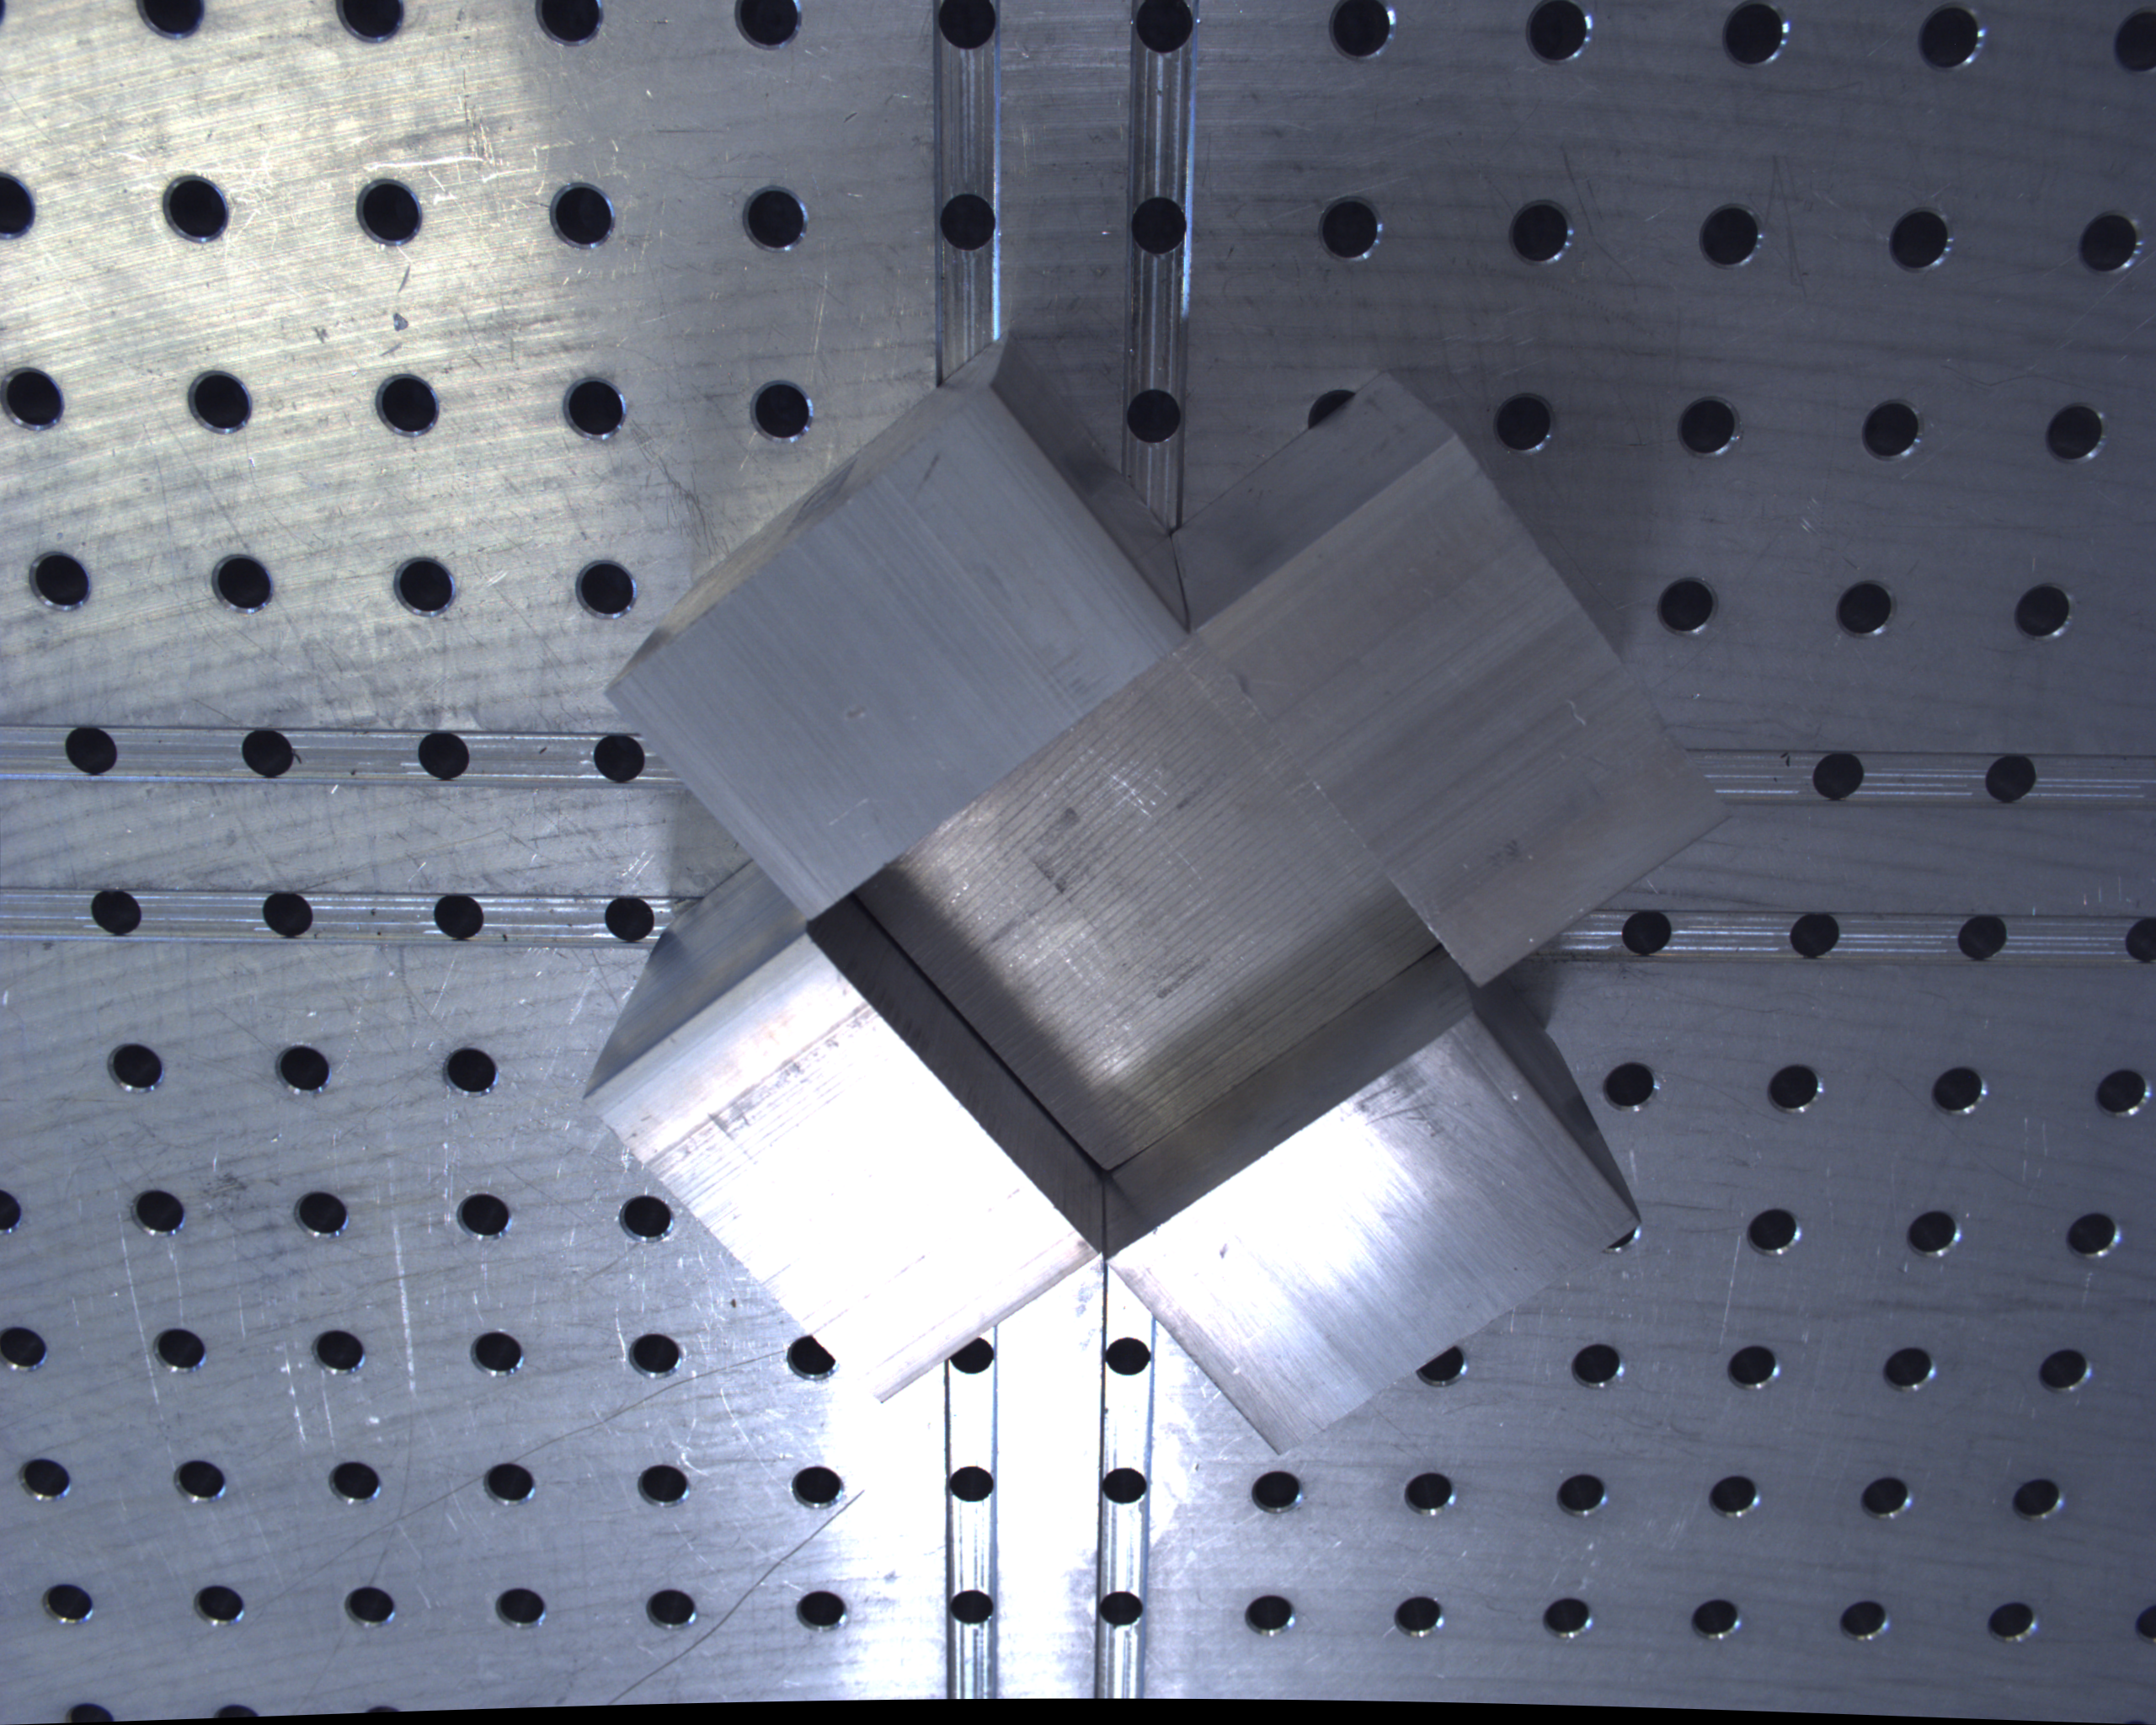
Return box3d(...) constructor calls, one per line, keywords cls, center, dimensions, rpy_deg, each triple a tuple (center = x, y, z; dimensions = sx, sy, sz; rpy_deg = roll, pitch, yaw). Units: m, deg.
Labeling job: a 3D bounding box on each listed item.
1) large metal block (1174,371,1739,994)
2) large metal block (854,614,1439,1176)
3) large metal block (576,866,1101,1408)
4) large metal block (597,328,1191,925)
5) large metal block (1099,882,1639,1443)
box3d(cls="large metal block", center=(0.063, -0.035, 0.372), dimensions=(0.050, 0.080, 0.080), rpy_deg=(-37, 106, 12))
box3d(cls="large metal block", center=(0.012, -0.002, 0.398), dimensions=(0.080, 0.050, 0.080), rpy_deg=(-36, 105, 14))
box3d(cls="large metal block", center=(-0.041, 0.041, 0.398), dimensions=(0.050, 0.080, 0.080), rpy_deg=(-37, 107, 12))
box3d(cls="large metal block", center=(-0.029, -0.045, 0.367), dimensions=(0.080, 0.080, 0.050), rpy_deg=(-37, 106, 12))
box3d(cls="large metal block", center=(0.051, 0.051, 0.404), dimensions=(0.080, 0.080, 0.050), rpy_deg=(-35, 106, 12))
